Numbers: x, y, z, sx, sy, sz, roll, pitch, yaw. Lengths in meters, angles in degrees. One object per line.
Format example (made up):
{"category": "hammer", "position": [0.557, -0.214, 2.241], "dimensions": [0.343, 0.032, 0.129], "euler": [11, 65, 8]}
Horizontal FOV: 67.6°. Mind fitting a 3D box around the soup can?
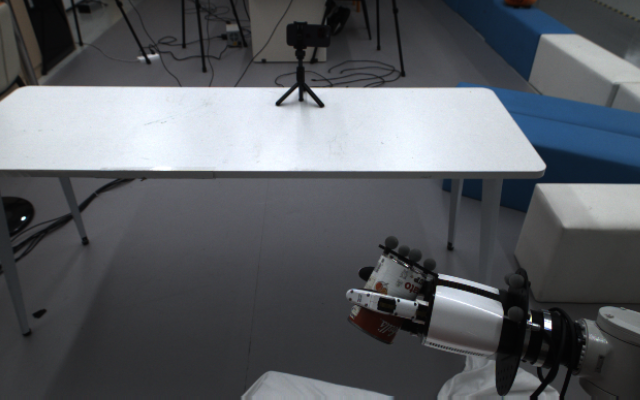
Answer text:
{"category": "soup can", "position": [0.089, 0.128, 0.638], "dimensions": [0.067, 0.067, 0.101], "euler": [28, 86, 32]}
